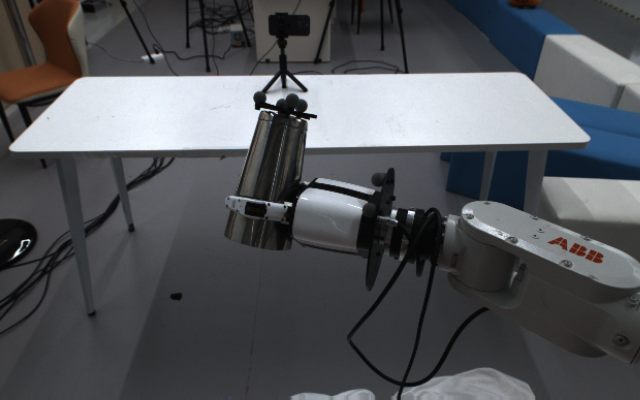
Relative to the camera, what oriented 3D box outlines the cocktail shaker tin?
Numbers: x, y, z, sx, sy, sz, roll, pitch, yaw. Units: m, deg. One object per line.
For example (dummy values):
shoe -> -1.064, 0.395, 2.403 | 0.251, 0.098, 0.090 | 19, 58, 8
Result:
cocktail shaker tin -> -0.066, -0.028, 0.646 | 0.093, 0.170, 0.093 | 12, 4, -1
